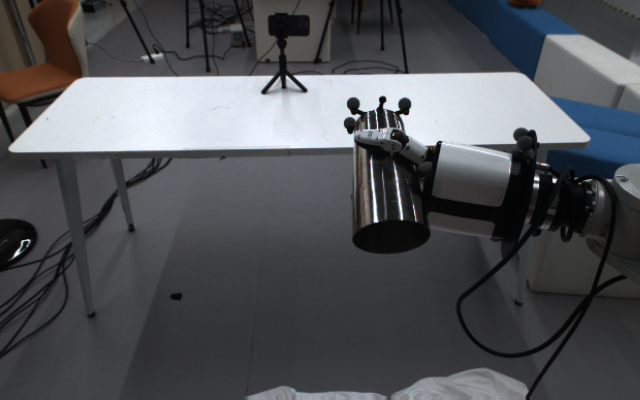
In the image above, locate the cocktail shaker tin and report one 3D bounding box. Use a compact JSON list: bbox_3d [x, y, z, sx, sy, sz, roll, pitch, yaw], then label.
[{"bbox_3d":[0.081,-0.029,0.607,0.093,0.093,0.170,0,59,-3],"label":"cocktail shaker tin"}]
